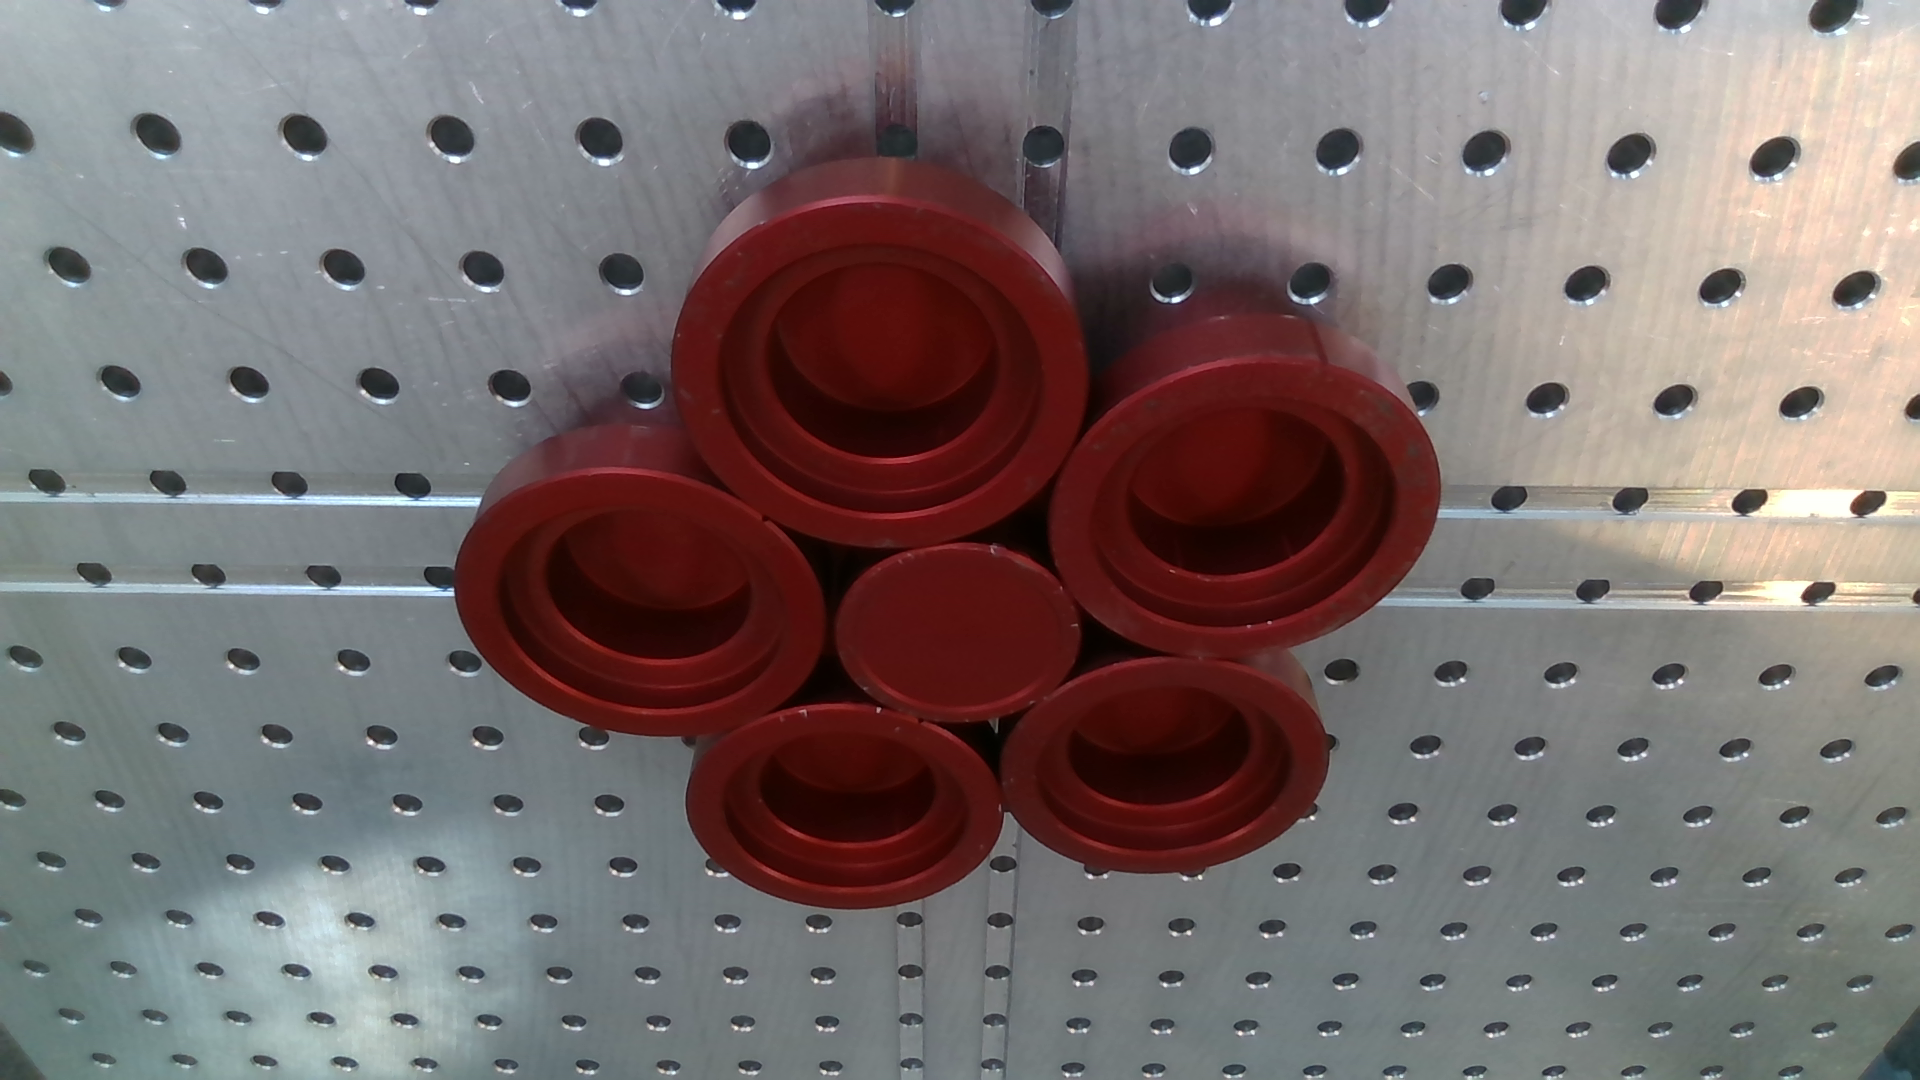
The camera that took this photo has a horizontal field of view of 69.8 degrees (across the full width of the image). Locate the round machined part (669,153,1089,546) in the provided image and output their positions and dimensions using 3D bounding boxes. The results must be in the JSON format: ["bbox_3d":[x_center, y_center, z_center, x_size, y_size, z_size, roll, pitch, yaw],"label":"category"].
[{"bbox_3d":[-0.019,-0.049,0.338,0.098,0.042,0.098,0,130,0],"label":"round machined part"}]

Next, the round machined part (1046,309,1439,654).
[{"bbox_3d":[0.071,-0.019,0.364,0.098,0.042,0.098,0,130,0],"label":"round machined part"}]

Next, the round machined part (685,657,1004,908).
[{"bbox_3d":[-0.035,0.071,0.440,0.098,0.042,0.098,0,130,0],"label":"round machined part"}]

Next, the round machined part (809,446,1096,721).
[{"bbox_3d":[-0.001,0.013,0.390,0.098,0.042,0.098,0,130,0],"label":"round machined part"}]

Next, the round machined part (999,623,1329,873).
[{"bbox_3d":[0.061,0.057,0.427,0.098,0.042,0.098,0,130,0],"label":"round machined part"}]

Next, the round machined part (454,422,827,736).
[{"bbox_3d":[-0.085,0.007,0.385,0.098,0.042,0.098,0,130,0],"label":"round machined part"}]
